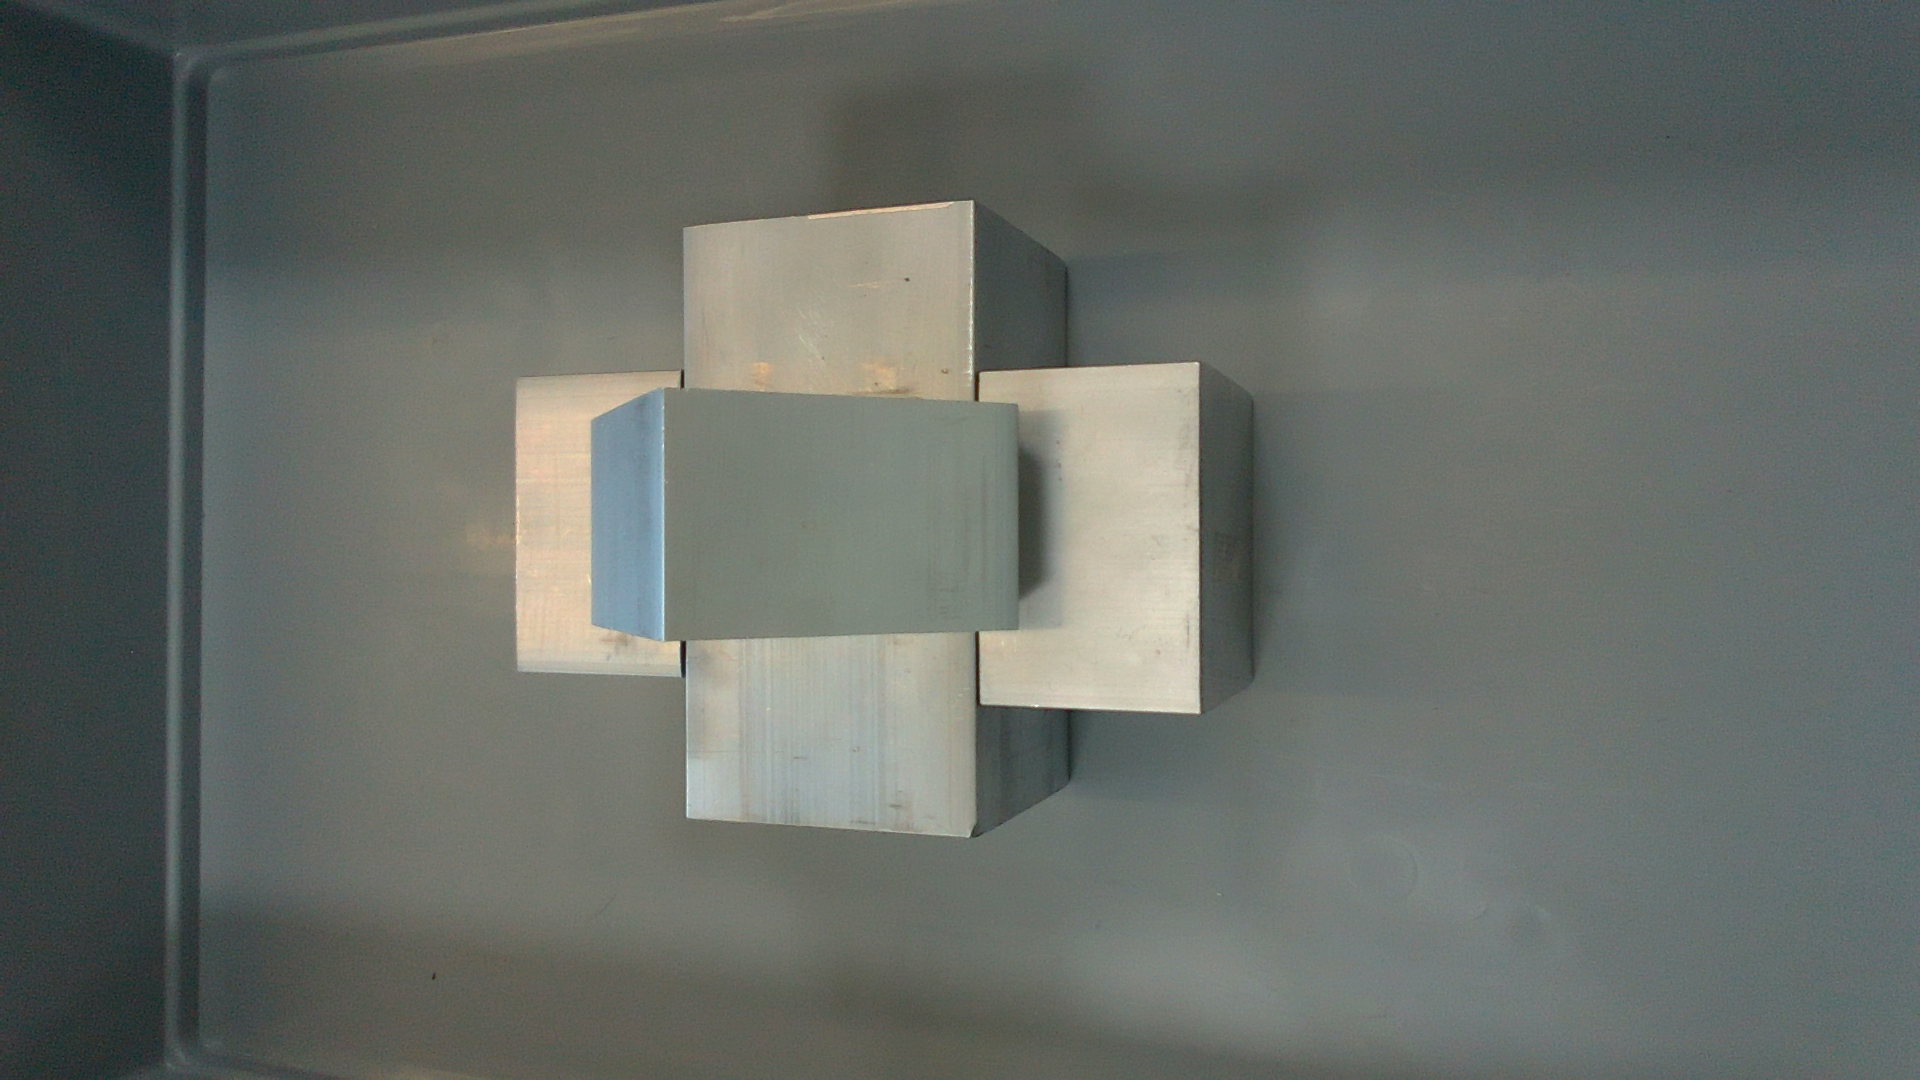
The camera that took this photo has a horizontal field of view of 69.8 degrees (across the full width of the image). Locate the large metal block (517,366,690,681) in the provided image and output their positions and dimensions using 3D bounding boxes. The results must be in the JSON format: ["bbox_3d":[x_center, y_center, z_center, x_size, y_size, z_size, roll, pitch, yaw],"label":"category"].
[{"bbox_3d":[-0.081,-0.004,0.395,0.050,0.080,0.080,0,90,20],"label":"large metal block"}]

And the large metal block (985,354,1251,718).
[{"bbox_3d":[0.043,-0.001,0.348,0.050,0.080,0.080,0,90,20],"label":"large metal block"}]

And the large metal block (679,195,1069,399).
[{"bbox_3d":[-0.020,-0.056,0.373,0.080,0.080,0.050,0,90,20],"label":"large metal block"}]

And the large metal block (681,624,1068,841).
[{"bbox_3d":[-0.019,0.046,0.373,0.080,0.080,0.050,0,90,20],"label":"large metal block"}]

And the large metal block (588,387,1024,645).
[{"bbox_3d":[-0.039,-0.005,0.320,0.080,0.080,0.050,0,90,-25],"label":"large metal block"}]
